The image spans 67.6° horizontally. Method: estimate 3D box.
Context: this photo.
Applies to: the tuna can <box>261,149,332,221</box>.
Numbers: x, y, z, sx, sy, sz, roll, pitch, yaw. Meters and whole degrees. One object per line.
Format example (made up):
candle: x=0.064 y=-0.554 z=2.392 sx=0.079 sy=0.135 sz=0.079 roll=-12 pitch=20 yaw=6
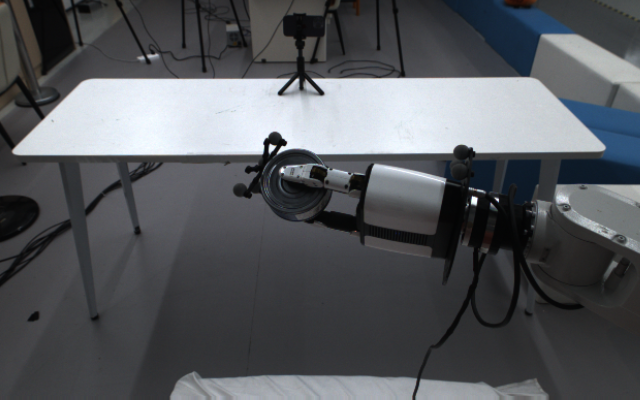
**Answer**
tuna can: x=-0.025 y=-0.015 z=0.589 sx=0.085 sy=0.034 sz=0.085 roll=-2 pitch=72 yaw=5
